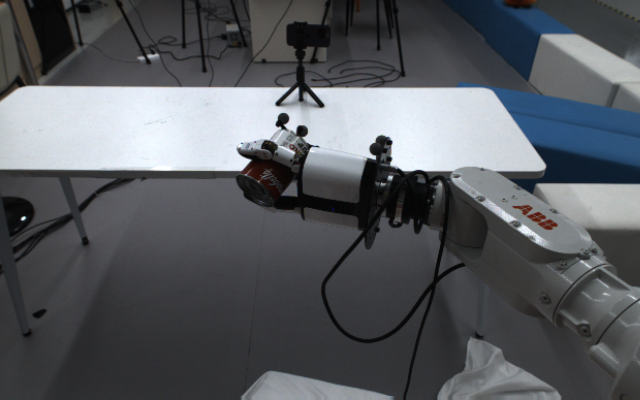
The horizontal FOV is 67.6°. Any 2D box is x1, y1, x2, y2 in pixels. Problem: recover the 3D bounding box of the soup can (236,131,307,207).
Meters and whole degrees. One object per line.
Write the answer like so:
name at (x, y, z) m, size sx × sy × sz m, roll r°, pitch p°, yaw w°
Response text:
soup can at (-0.066, -0.049, 0.714) m, size 0.067 × 0.067 × 0.101 m, roll 22°, pitch 61°, yaw 27°
